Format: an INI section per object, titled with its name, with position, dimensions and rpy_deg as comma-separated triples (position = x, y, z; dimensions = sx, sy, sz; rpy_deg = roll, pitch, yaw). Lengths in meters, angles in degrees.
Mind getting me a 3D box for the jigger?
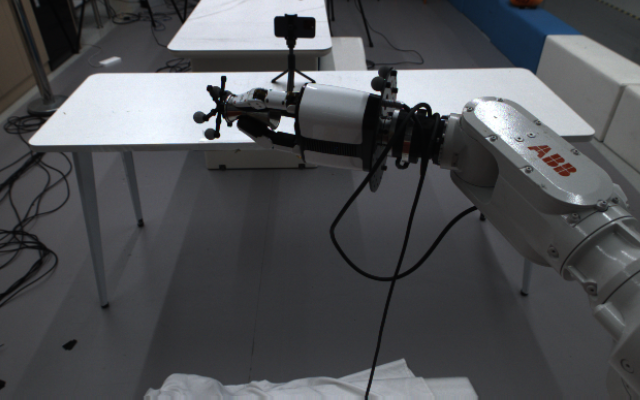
[jigger]
position = -0.088, -0.128, 0.672
dimensions = 0.071, 0.043, 0.043
rpy_deg = 10, 35, 16
